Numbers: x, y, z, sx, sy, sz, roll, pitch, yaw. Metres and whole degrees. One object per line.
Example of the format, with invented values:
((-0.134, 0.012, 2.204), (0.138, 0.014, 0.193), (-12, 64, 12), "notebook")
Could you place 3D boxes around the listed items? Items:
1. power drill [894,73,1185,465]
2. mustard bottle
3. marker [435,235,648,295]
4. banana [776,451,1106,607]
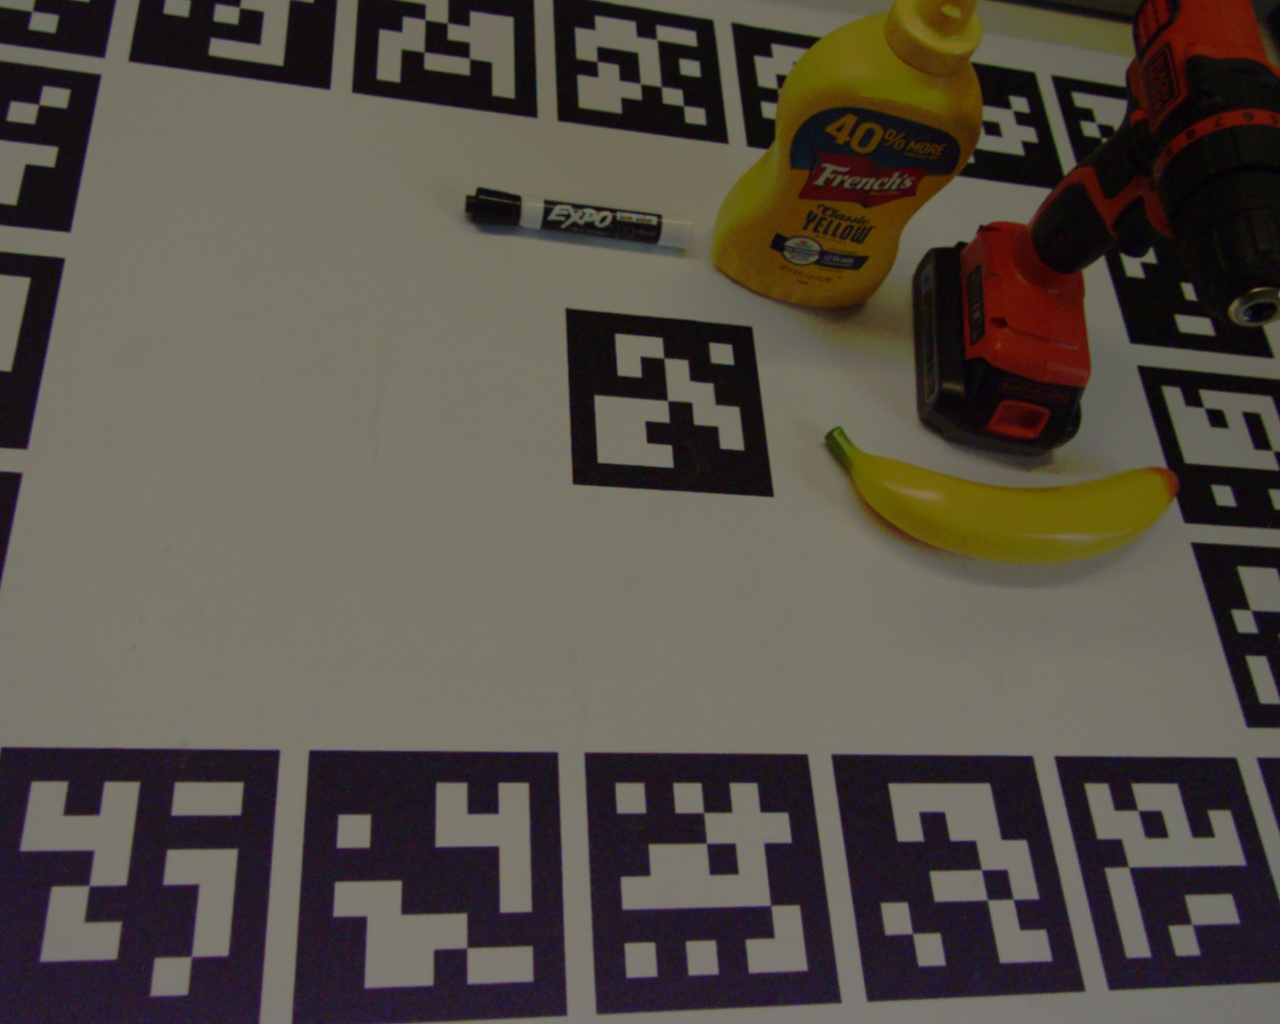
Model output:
((0.198, -0.102, 0.583), (0.057, 0.188, 0.185), (16, 60, -11), "power drill")
((0.089, -0.160, 0.600), (0.096, 0.192, 0.058), (14, 63, -11), "mustard bottle")
((-0.056, -0.141, 0.650), (0.120, 0.020, 0.020), (5, 66, -13), "marker")
((0.169, 0.016, 0.629), (0.196, 0.039, 0.074), (10, 65, -9), "banana")
